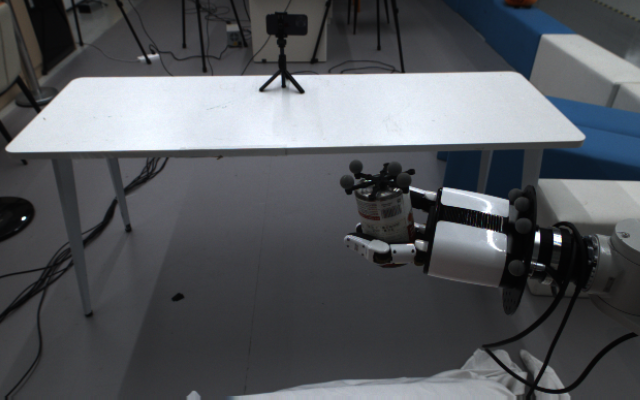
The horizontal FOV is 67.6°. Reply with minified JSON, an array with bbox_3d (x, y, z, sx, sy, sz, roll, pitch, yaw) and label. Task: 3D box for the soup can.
[{"bbox_3d":[0.087,0.025,0.608,0.067,0.101,0.067,-11,27,6],"label":"soup can"}]
